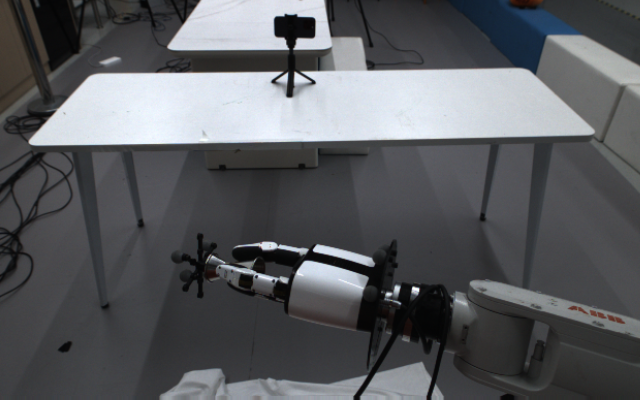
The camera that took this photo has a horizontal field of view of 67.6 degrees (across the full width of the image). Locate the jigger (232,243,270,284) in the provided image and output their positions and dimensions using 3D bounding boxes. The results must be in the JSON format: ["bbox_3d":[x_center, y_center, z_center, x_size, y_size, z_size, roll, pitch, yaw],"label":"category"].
[{"bbox_3d":[-0.103,0.088,0.634,0.071,0.043,0.043,3,34,17],"label":"jigger"}]
